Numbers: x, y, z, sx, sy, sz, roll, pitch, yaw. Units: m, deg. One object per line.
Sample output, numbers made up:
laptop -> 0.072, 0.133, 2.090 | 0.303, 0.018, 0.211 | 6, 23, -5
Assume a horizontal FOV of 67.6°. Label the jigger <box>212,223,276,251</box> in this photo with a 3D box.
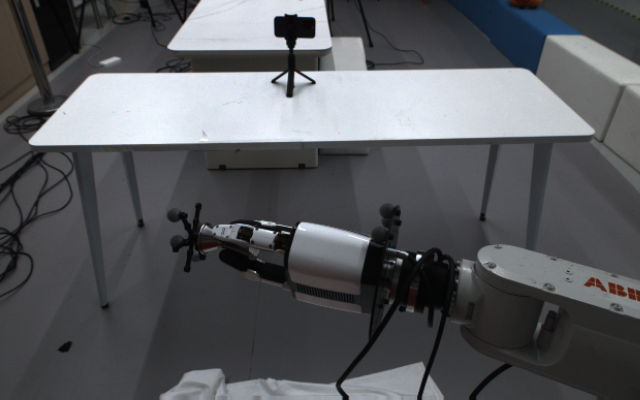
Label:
jigger -> -0.104, 0.046, 0.604 | 0.071, 0.043, 0.043 | 3, 34, 14
